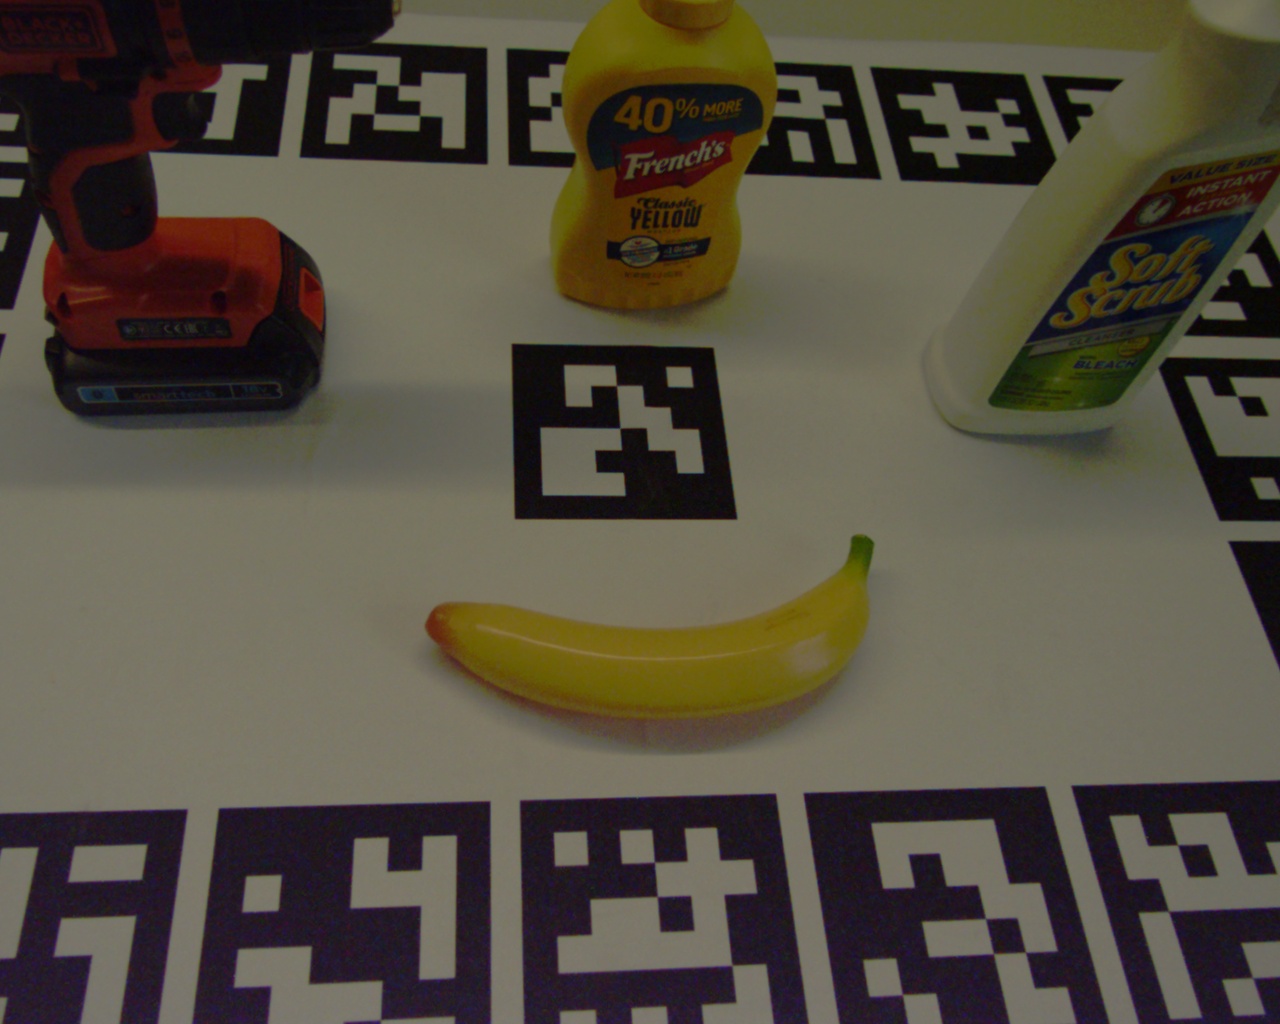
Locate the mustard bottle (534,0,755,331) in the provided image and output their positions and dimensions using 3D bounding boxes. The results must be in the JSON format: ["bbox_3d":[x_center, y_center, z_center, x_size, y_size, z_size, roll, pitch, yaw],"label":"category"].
[{"bbox_3d":[0.004,-0.168,0.550,0.095,0.191,0.059,-6,60,-14],"label":"mustard bottle"}]

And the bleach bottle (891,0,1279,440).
[{"bbox_3d":[0.202,-0.130,0.513,0.102,0.251,0.068,8,58,-4],"label":"bleach bottle"}]

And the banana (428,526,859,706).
[{"bbox_3d":[0.009,0.049,0.495,0.196,0.039,0.074,-6,62,-7],"label":"banana"}]

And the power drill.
[{"bbox_3d":[-0.175,-0.144,0.476,0.184,0.186,0.058,-7,60,-7],"label":"power drill"}]
